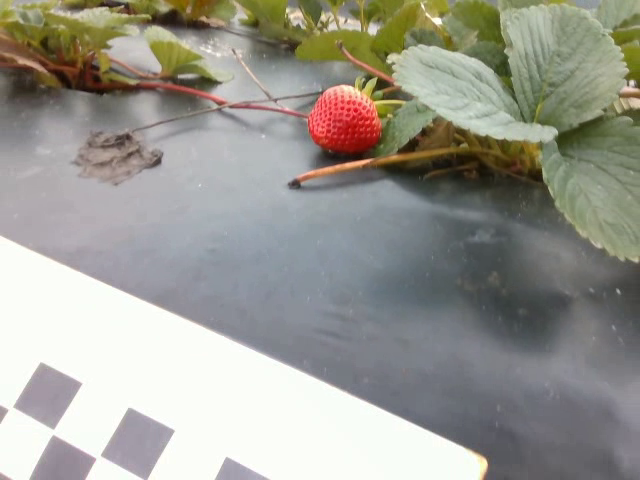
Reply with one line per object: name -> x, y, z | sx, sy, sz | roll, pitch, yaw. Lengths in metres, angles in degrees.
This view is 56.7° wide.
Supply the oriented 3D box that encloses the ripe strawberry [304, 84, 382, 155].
ripe strawberry -> 0.013, -0.094, 0.441 | 0.061, 0.065, 0.050 | 33, -19, 18
